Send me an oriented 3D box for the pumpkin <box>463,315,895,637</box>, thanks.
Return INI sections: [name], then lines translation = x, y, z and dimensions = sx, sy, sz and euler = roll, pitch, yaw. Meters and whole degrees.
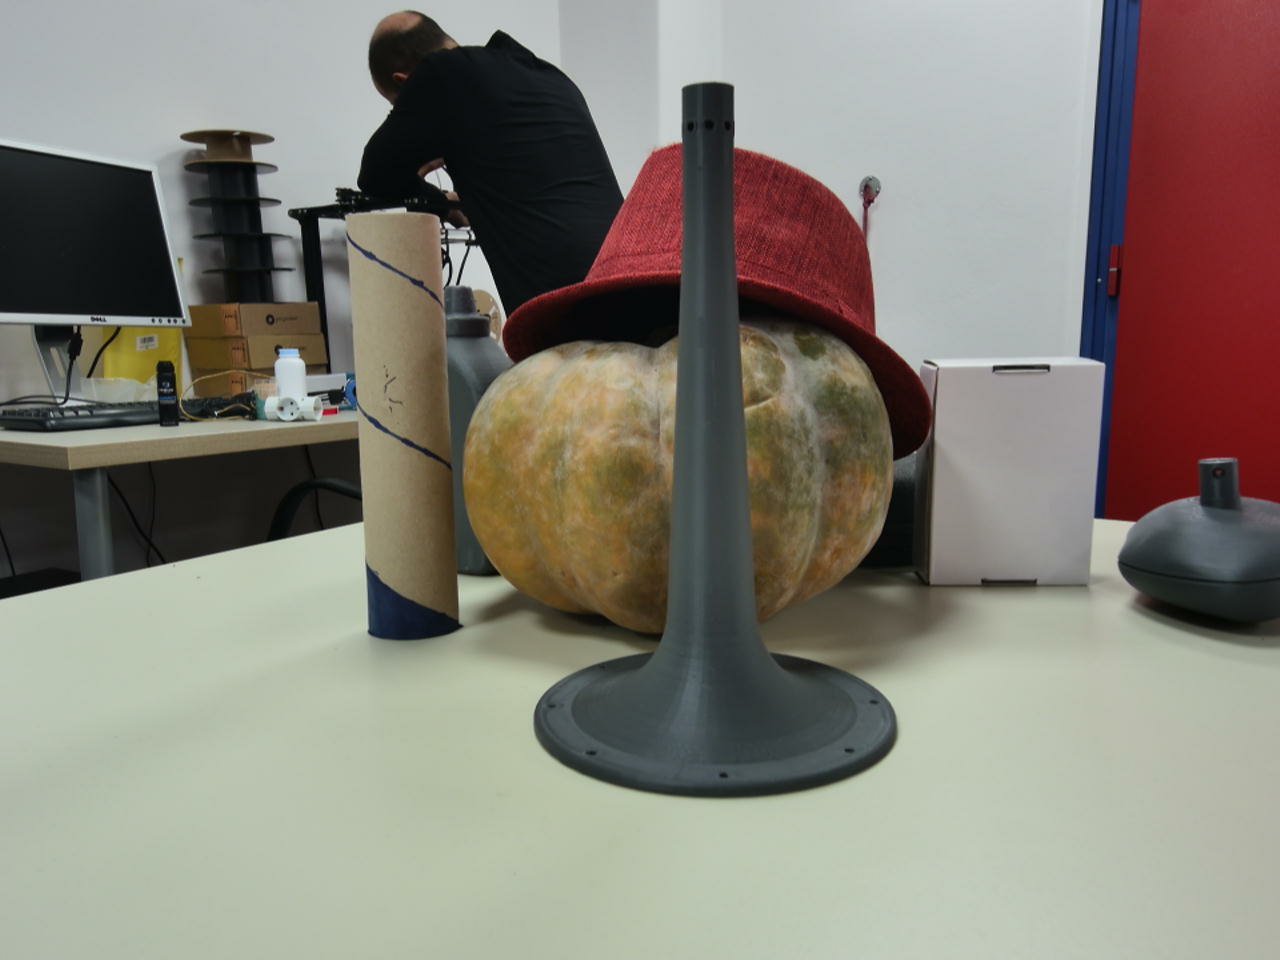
[pumpkin]
translation = 0.019, -0.007, 0.571
dimensions = 0.252, 0.168, 0.252
euler = 0, 7, 0
